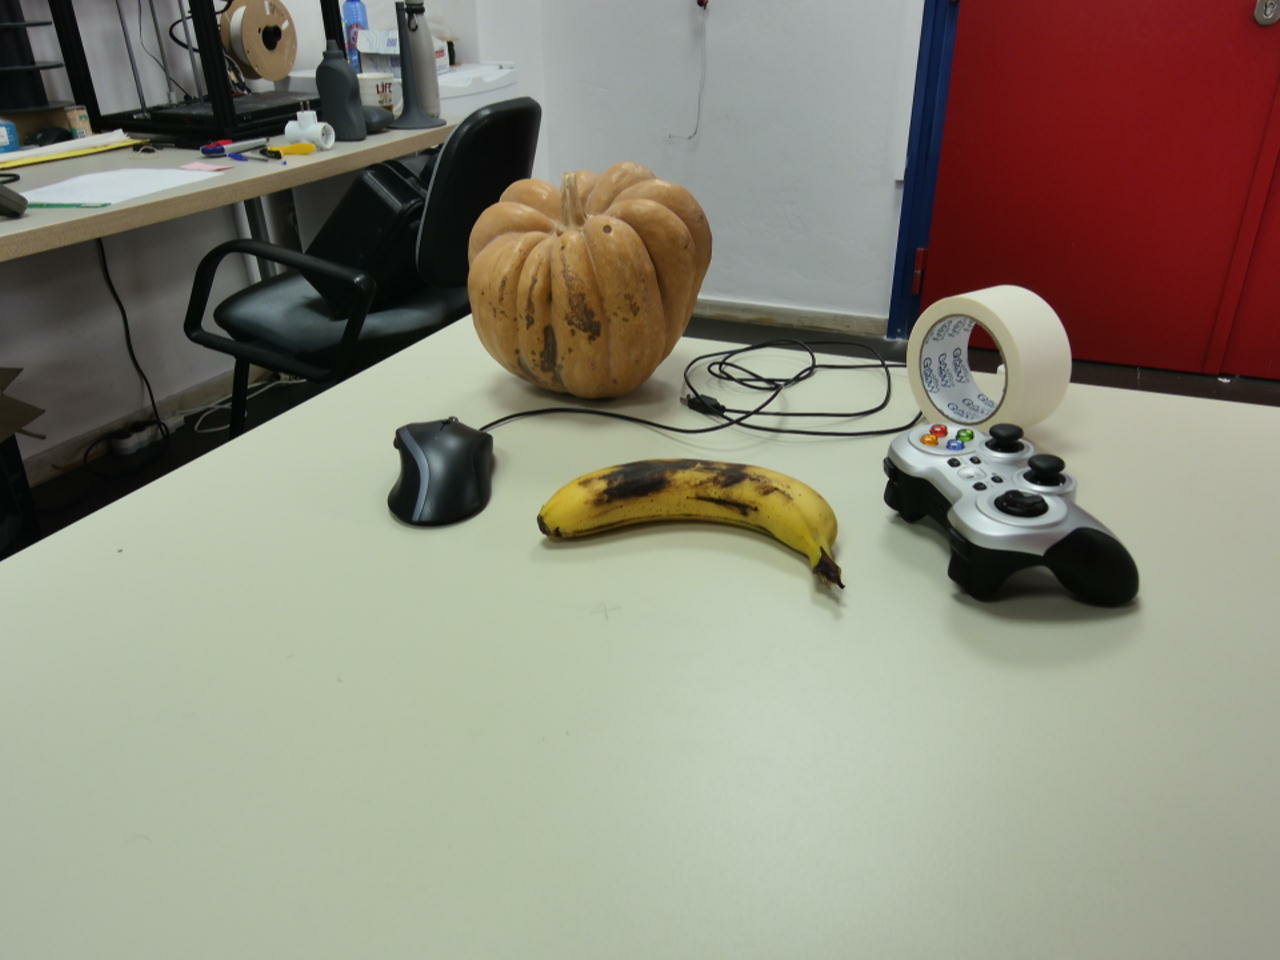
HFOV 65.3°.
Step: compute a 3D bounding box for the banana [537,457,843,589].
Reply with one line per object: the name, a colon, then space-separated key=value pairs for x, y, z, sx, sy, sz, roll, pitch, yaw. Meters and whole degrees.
banana: x=0.038 y=0.018 z=0.603 sx=0.187 sy=0.039 sz=0.094 roll=10 pitch=27 yaw=20
